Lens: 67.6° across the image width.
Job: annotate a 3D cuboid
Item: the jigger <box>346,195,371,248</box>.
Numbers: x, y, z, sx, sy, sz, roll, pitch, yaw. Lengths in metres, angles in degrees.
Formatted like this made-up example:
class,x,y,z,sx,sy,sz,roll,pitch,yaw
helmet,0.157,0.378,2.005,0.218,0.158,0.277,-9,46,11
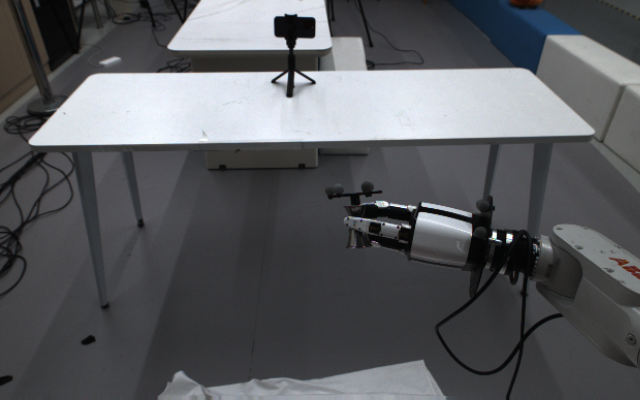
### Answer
class,x,y,z,sx,sy,sz,roll,pitch,yaw
jigger,0.059,0.040,0.780,0.043,0.071,0.043,-4,1,0
